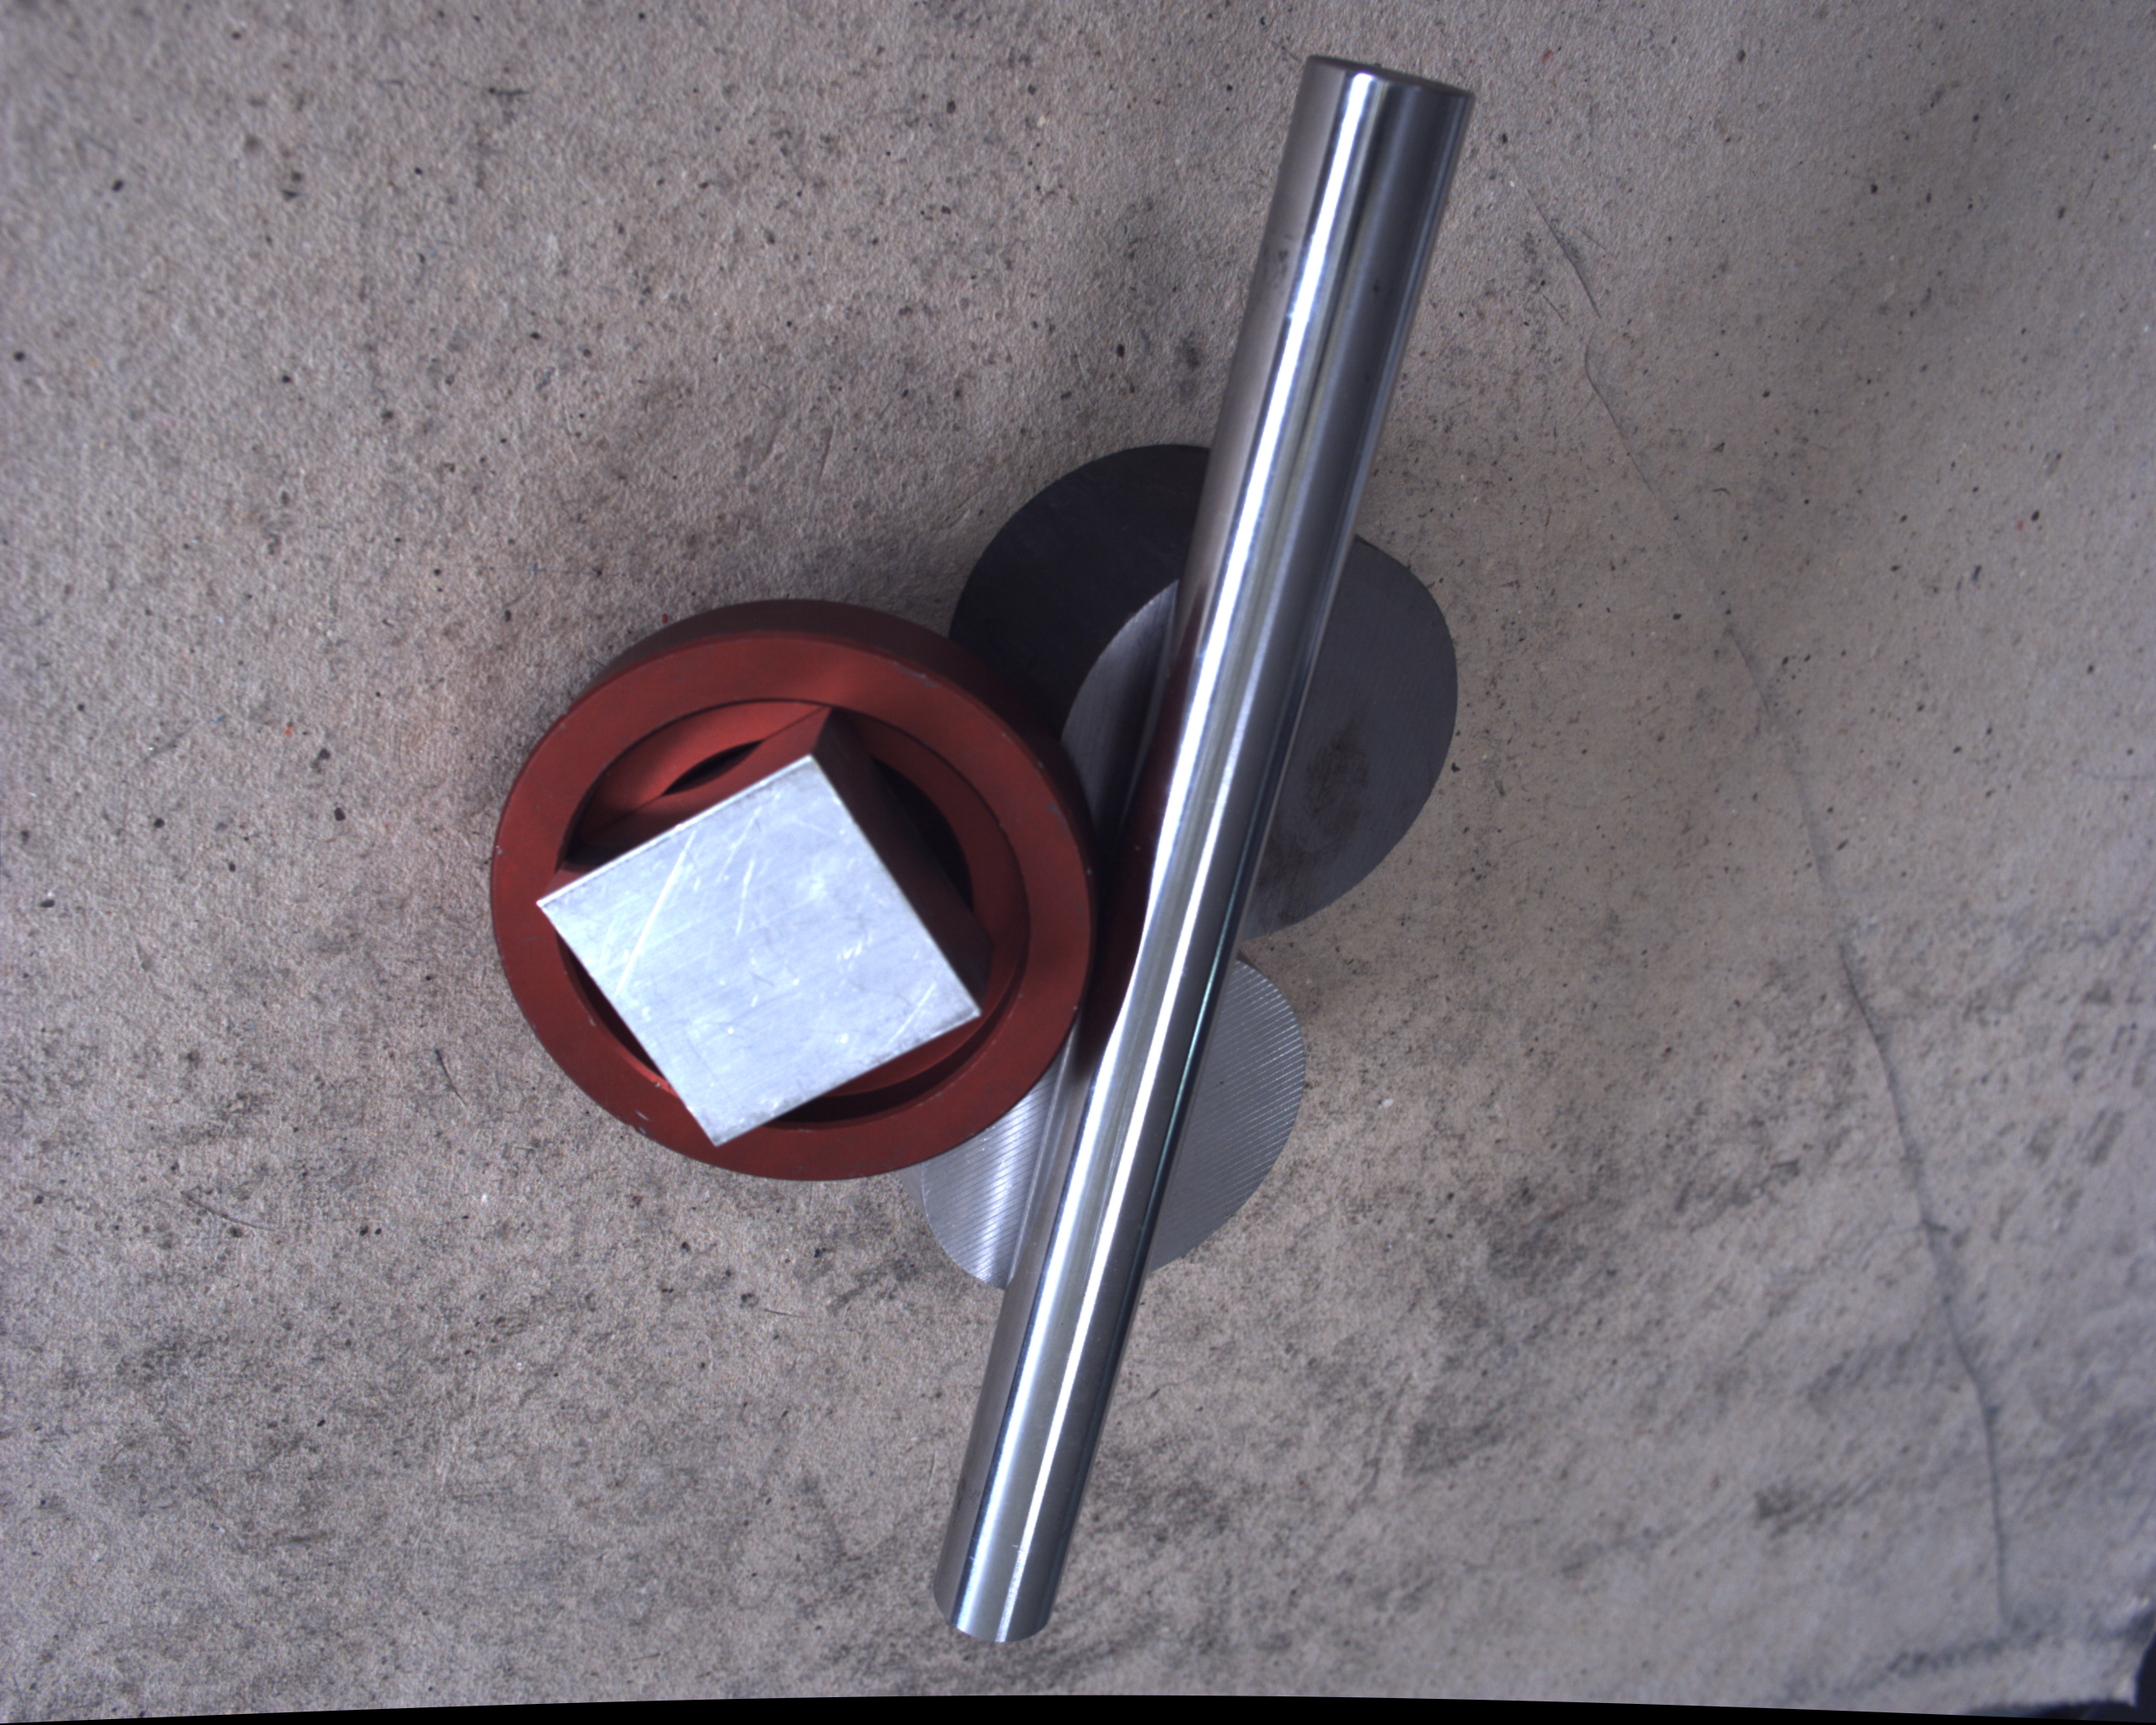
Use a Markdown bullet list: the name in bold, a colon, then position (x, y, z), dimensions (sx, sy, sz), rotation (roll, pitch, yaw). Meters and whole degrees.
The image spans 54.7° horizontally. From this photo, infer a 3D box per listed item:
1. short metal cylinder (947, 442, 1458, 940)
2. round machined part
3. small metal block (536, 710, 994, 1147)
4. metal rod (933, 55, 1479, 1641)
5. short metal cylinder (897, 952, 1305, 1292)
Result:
- **short metal cylinder**: position (0.022, -0.031, 0.385), dimensions (0.081, 0.050, 0.079), rotation (-14, 124, -21)
- **round machined part**: position (-0.046, 0.002, 0.357), dimensions (0.099, 0.042, 0.097), rotation (1, 112, 2)
- **small metal block**: position (-0.049, 0.010, 0.335), dimensions (0.050, 0.025, 0.050), rotation (-27, 108, 13)
- **metal rod**: position (0.014, 0.018, 0.363), dimensions (0.025, 0.025, 0.298), rotation (-1, 119, -28)
- **short metal cylinder**: position (-0.002, 0.039, 0.415), dimensions (0.081, 0.050, 0.079), rotation (-14, 123, -21)
